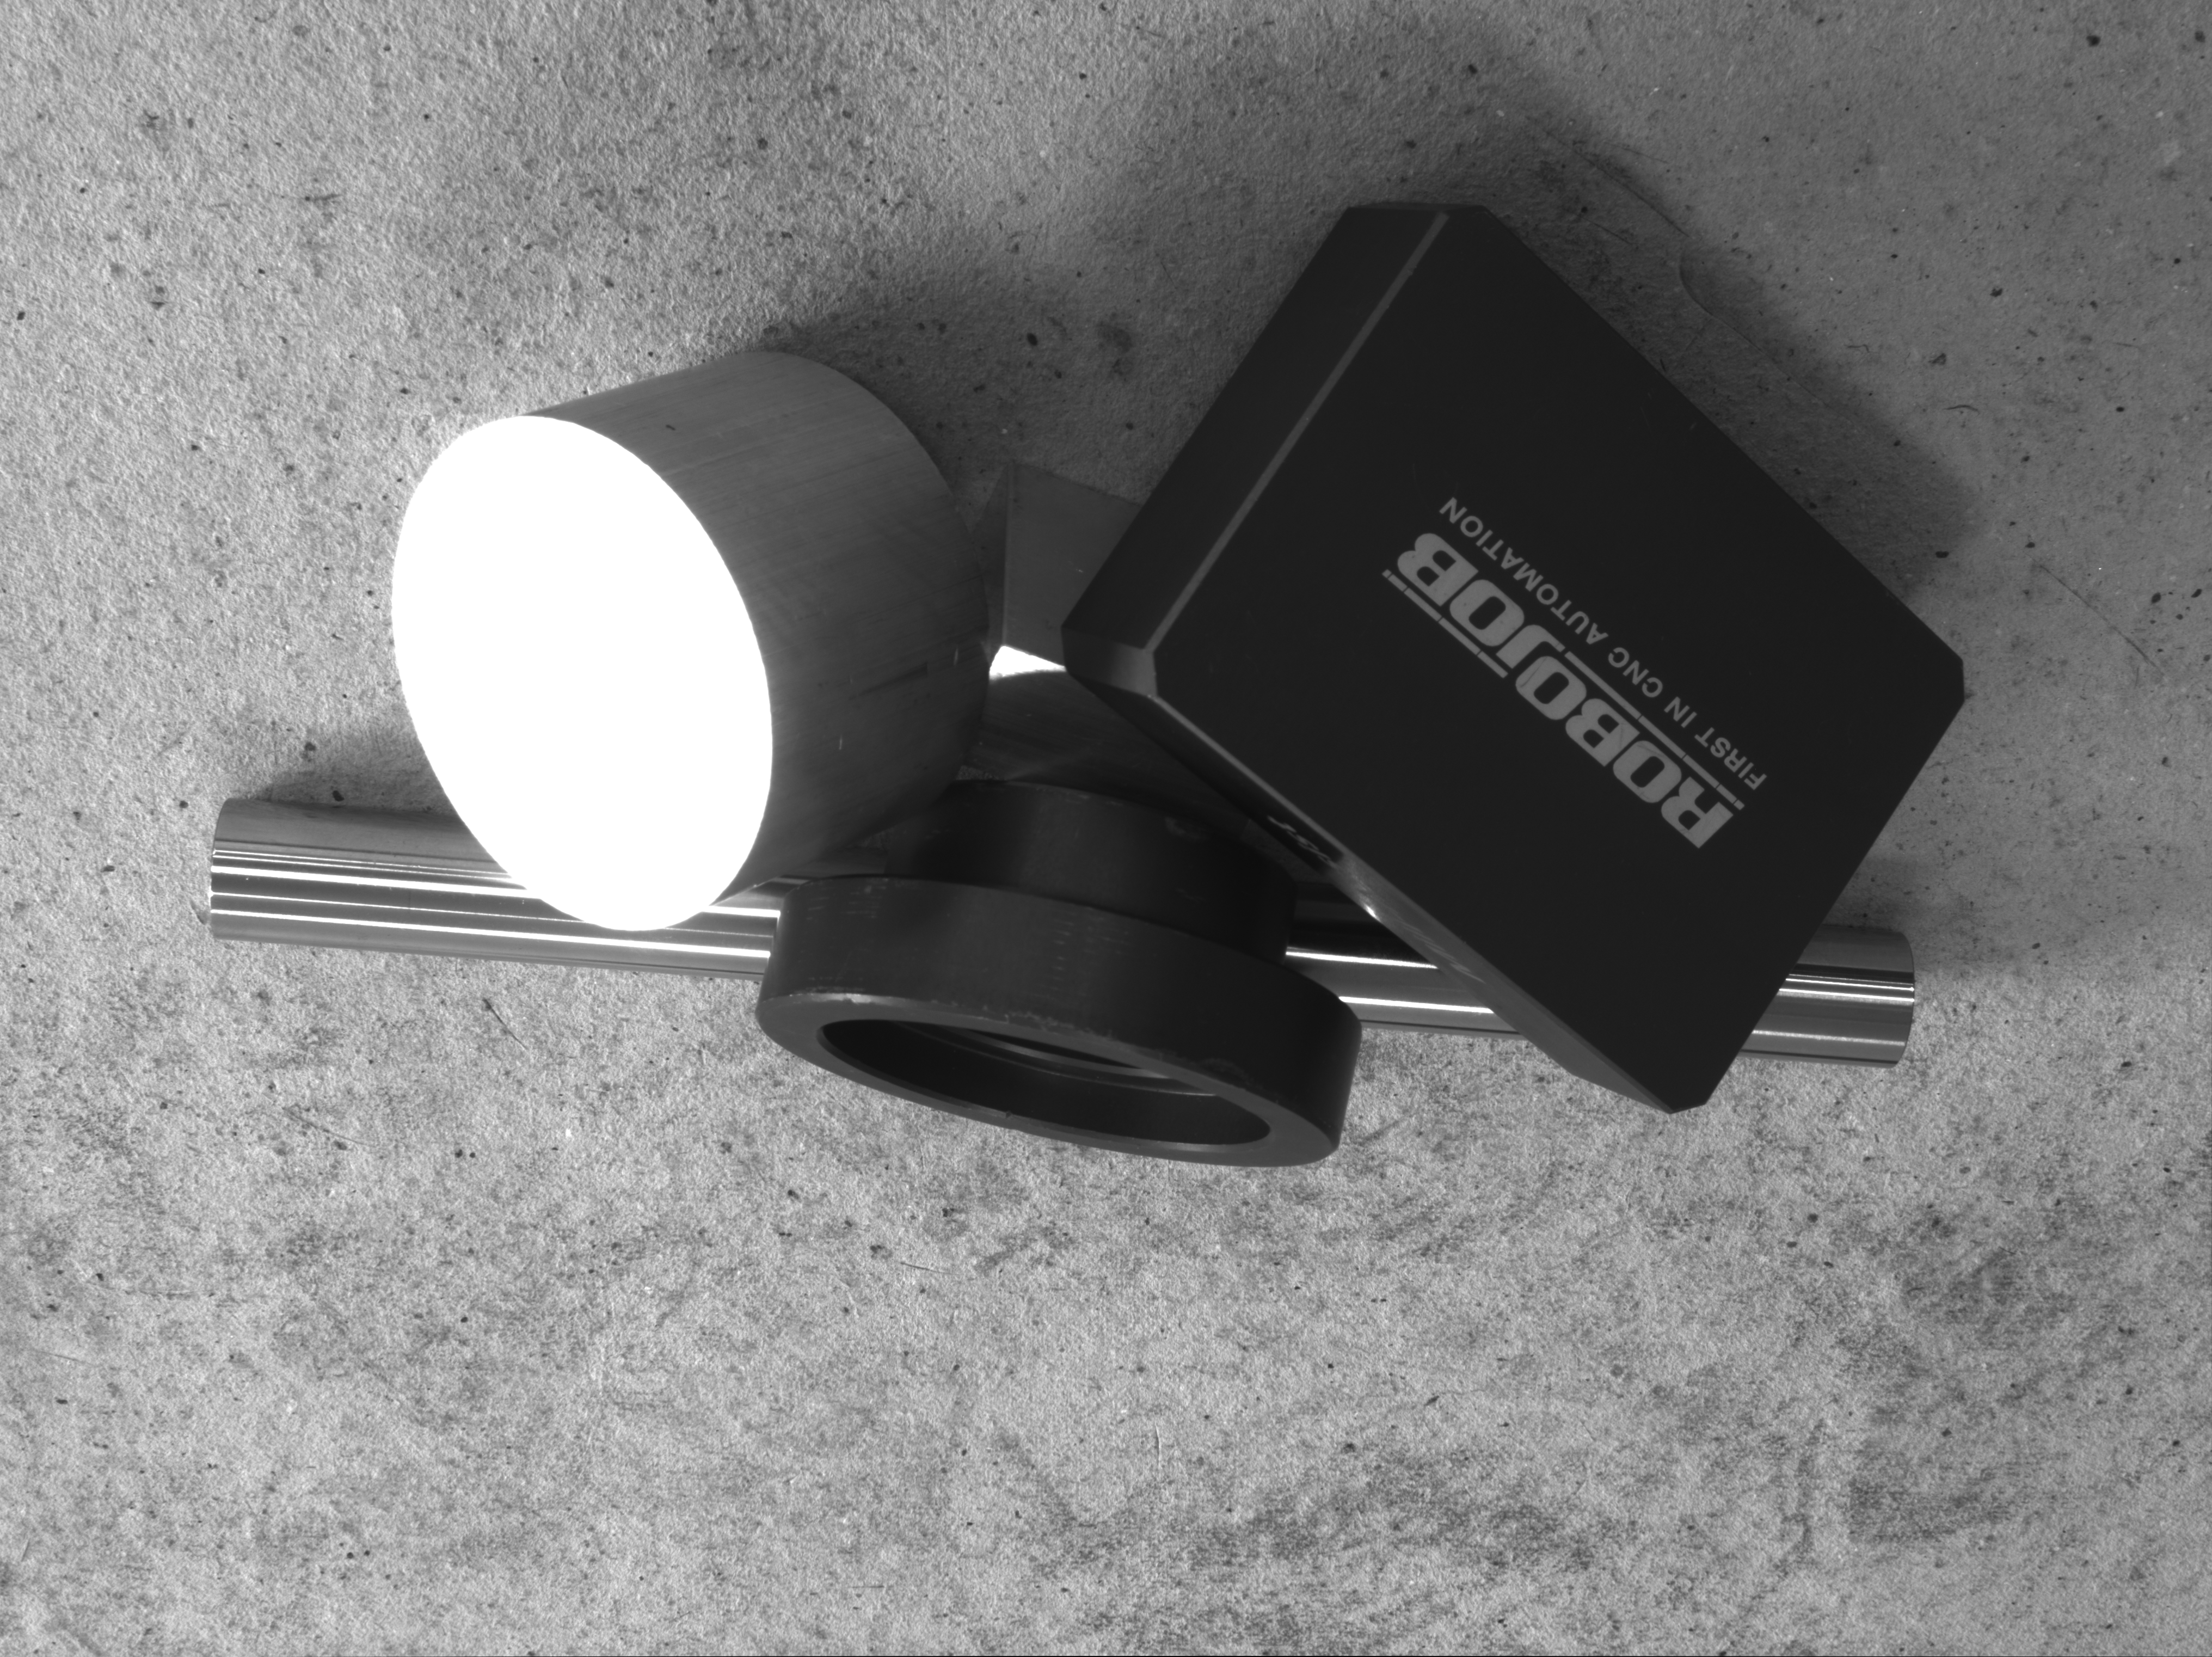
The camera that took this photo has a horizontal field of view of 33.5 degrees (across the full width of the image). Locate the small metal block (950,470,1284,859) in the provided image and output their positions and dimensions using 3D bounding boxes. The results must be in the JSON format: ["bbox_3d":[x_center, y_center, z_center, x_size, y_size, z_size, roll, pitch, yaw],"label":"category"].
[{"bbox_3d":[0.001,-0.026,0.599,0.050,0.050,0.025,19,128,-15],"label":"small metal block"}]

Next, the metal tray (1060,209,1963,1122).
[{"bbox_3d":[0.067,-0.025,0.583,0.130,0.030,0.090,38,82,-27],"label":"metal tray"}]

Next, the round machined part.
[{"bbox_3d":[-0.006,0.023,0.607,0.098,0.042,0.098,12,165,3],"label":"round machined part"}]

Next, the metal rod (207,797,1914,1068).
[{"bbox_3d":[-0.006,0.019,0.656,0.300,0.025,0.025,5,130,-4],"label":"metal rod"}]

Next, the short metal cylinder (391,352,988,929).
[{"bbox_3d":[-0.065,-0.030,0.573,0.080,0.050,0.080,16,117,35],"label":"short metal cylinder"}]
